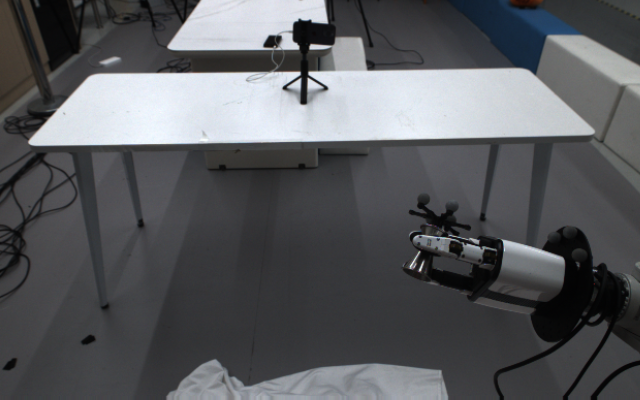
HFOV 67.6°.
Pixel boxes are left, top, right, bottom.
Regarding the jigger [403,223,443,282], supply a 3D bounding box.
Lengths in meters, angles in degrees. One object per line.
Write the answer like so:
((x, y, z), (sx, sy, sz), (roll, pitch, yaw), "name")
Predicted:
((0.141, 0.067, 0.654), (0.043, 0.043, 0.071), (20, 72, 24), "jigger")
